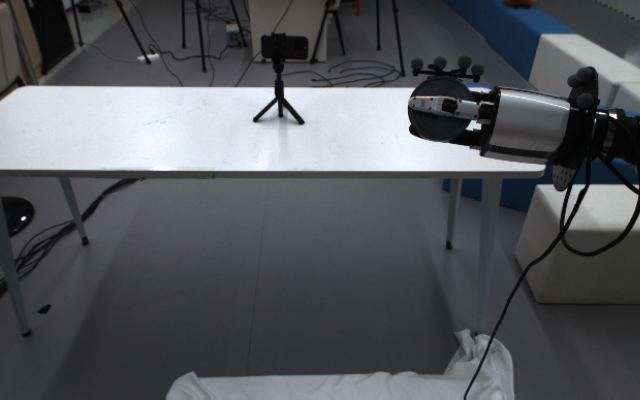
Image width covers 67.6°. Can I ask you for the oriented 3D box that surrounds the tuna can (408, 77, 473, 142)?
[{"bbox_3d":[0.162,-0.126,0.654,0.085,0.085,0.034,11,2,12],"label":"tuna can"}]
